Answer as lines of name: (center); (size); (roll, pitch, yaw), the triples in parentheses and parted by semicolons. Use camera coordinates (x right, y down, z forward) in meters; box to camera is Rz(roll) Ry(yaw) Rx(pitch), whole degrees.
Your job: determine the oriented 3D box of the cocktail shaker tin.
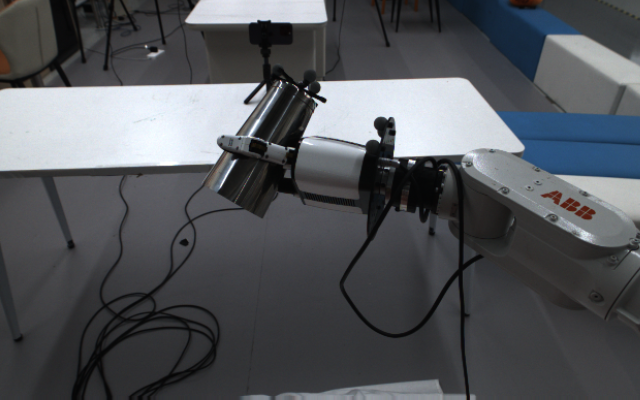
cocktail shaker tin: (-0.075, -0.075, 0.651); (0.093, 0.093, 0.170); (26, 83, 30)
